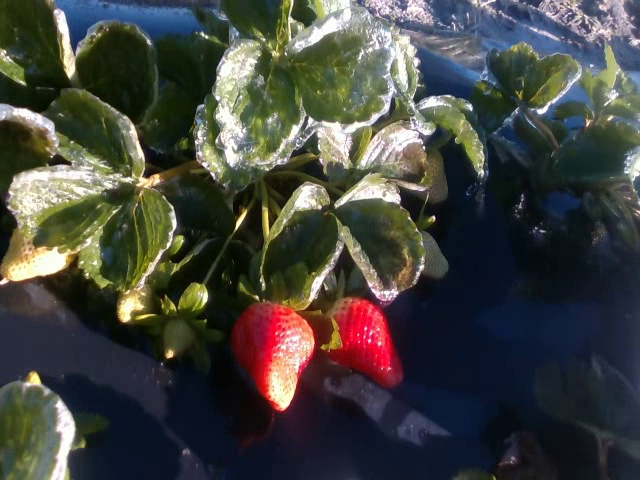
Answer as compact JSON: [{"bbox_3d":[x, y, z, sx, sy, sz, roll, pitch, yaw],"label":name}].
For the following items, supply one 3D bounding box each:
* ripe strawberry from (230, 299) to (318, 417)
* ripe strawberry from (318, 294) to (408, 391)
[{"bbox_3d":[-0.020,0.066,0.331,0.052,0.070,0.040,19,-32,-31],"label":"ripe strawberry"},{"bbox_3d":[0.030,0.058,0.351,0.043,0.059,0.040,-37,-1,-33],"label":"ripe strawberry"}]
